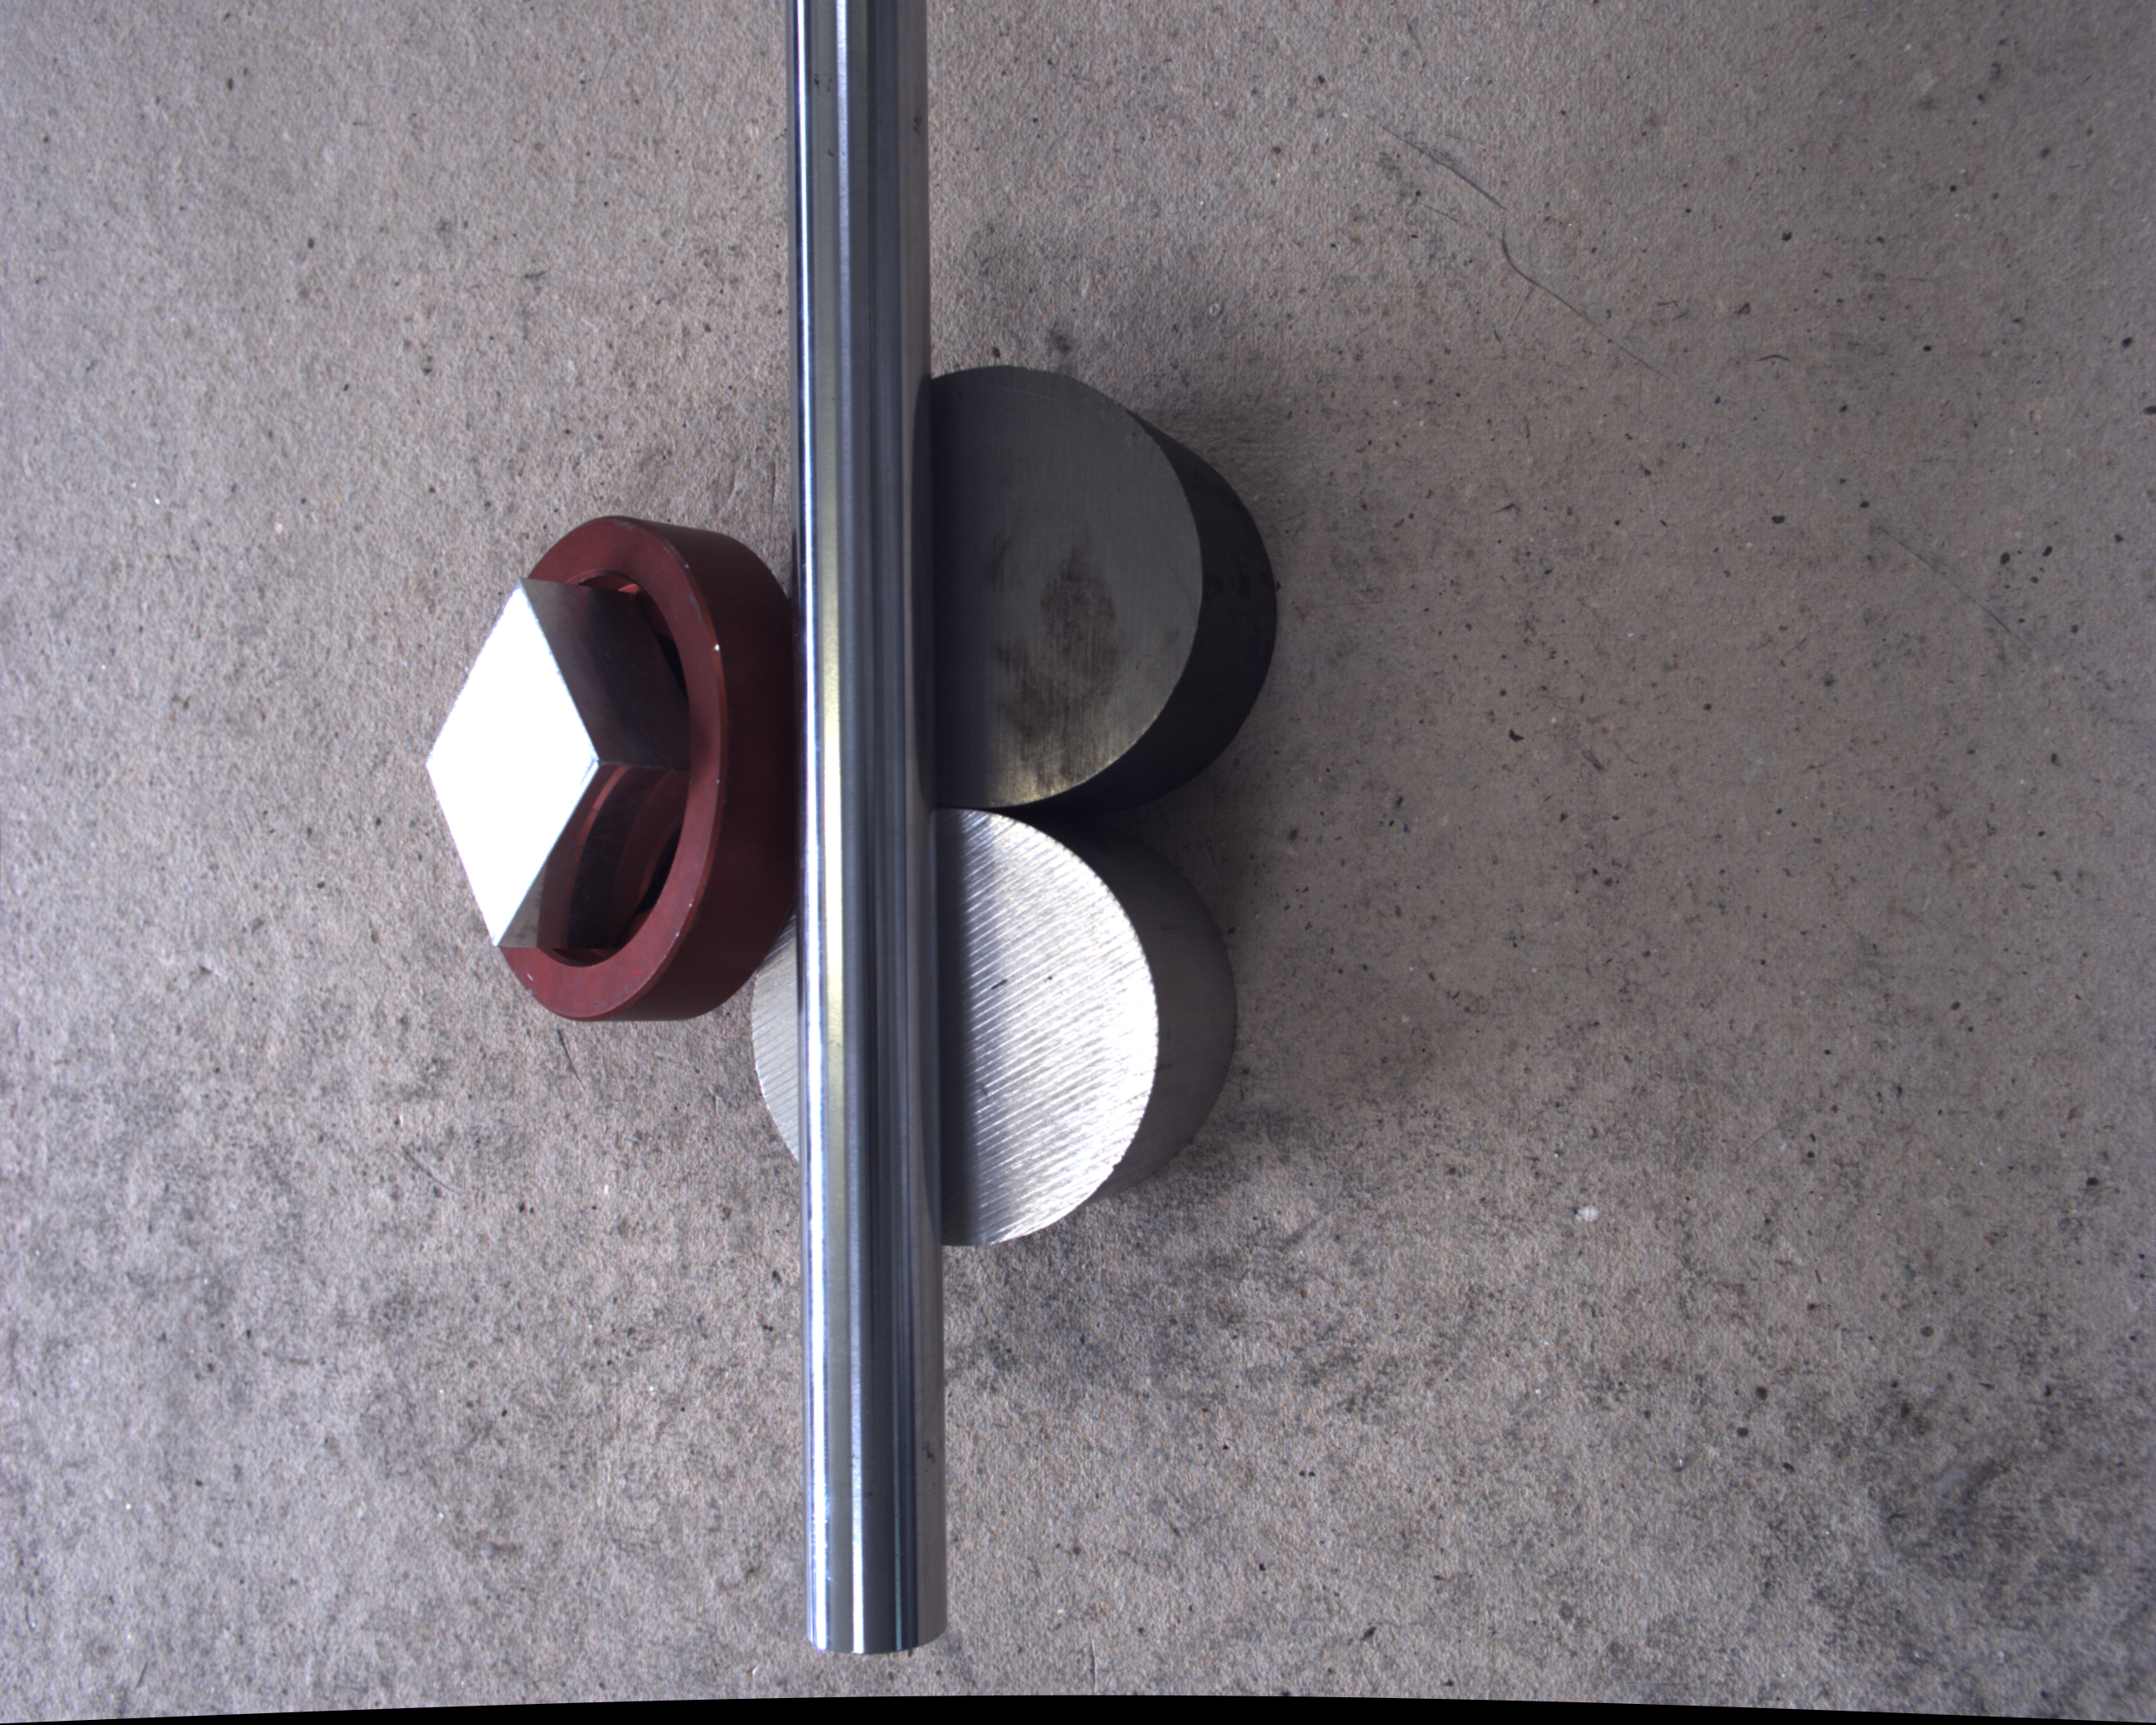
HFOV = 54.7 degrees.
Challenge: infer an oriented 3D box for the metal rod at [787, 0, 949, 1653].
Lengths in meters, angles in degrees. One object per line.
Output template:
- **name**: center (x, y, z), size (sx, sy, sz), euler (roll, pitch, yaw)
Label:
- **metal rod**: center (-0.037, -0.014, 0.370), size (0.025, 0.025, 0.298), euler (-1, 89, 20)

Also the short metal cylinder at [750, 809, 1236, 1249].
- **short metal cylinder**: center (-0.015, 0.030, 0.402), size (0.080, 0.050, 0.080), euler (0, 89, 20)

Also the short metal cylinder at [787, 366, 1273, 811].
- **short metal cylinder**: center (-0.008, -0.050, 0.400), size (0.080, 0.050, 0.079), euler (0, 90, 20)

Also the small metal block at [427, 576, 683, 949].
- **small metal block**: center (-0.098, -0.018, 0.402), size (0.050, 0.025, 0.050), euler (-53, 51, 32)

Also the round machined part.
- **round machined part**: center (-0.079, -0.018, 0.415), size (0.098, 0.042, 0.097), euler (-4, 84, 48)
